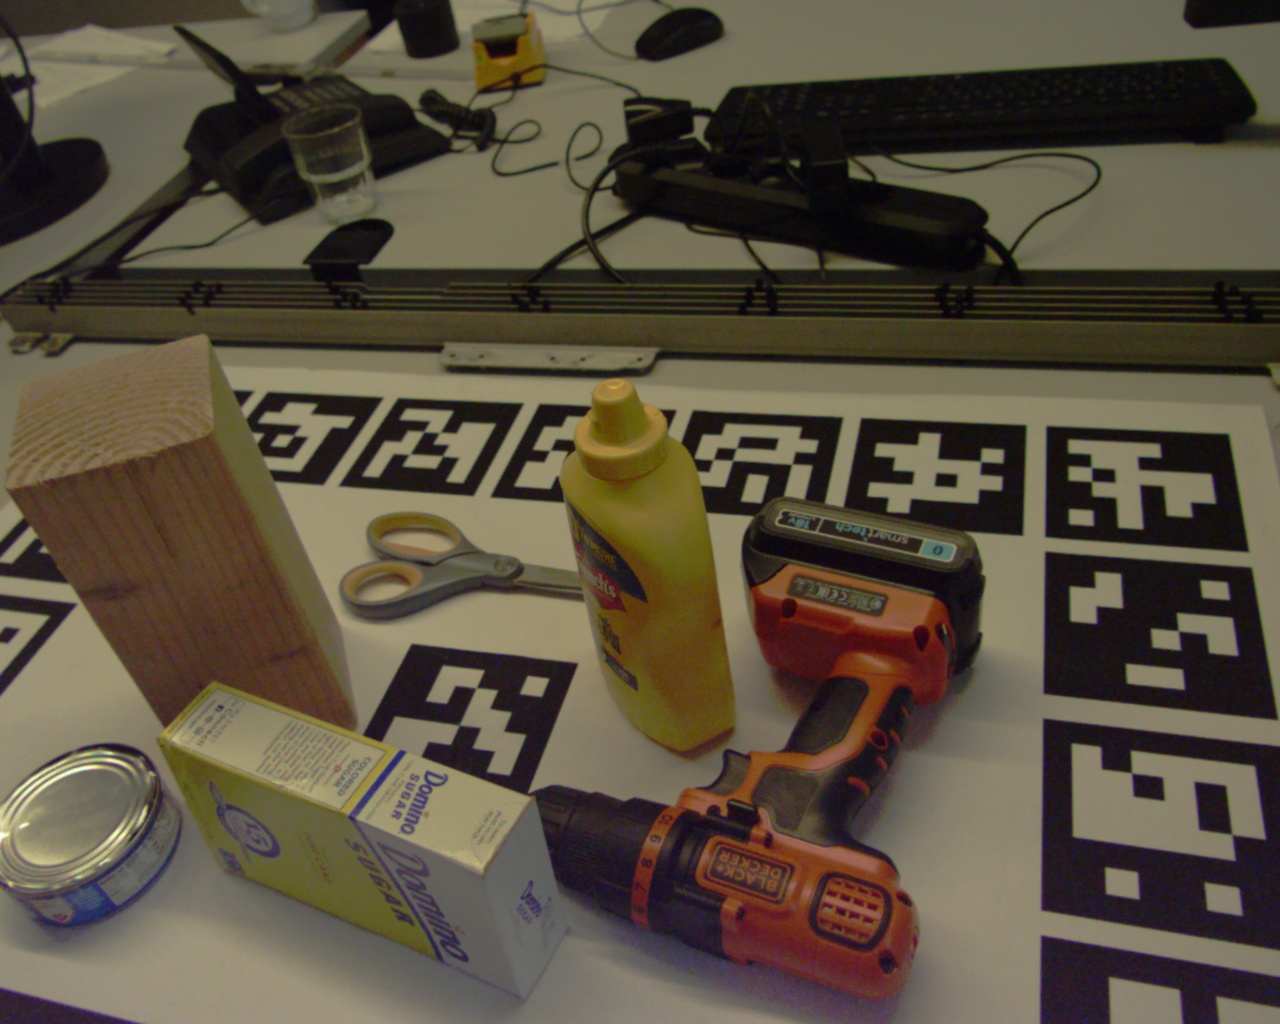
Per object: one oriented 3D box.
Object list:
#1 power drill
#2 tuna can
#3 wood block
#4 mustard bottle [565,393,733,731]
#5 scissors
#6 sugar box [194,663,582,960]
[{"bbox_3d":[0.043,0.100,0.559,0.187,0.057,0.186,14,56,27],"label":"power drill"},{"bbox_3d":[-0.275,0.150,0.594,0.086,0.033,0.086,-7,44,6],"label":"tuna can"},{"bbox_3d":[-0.219,0.026,0.606,0.091,0.205,0.090,-16,44,-4],"label":"wood block"},{"bbox_3d":[0.002,0.019,0.569,0.058,0.190,0.097,-24,45,-12],"label":"mustard bottle"},{"bbox_3d":[-0.104,0.023,0.706,0.204,0.016,0.087,6,42,19],"label":"scissors"},{"bbox_3d":[-0.117,0.139,0.533,0.178,0.092,0.045,15,45,24],"label":"sugar box"}]
